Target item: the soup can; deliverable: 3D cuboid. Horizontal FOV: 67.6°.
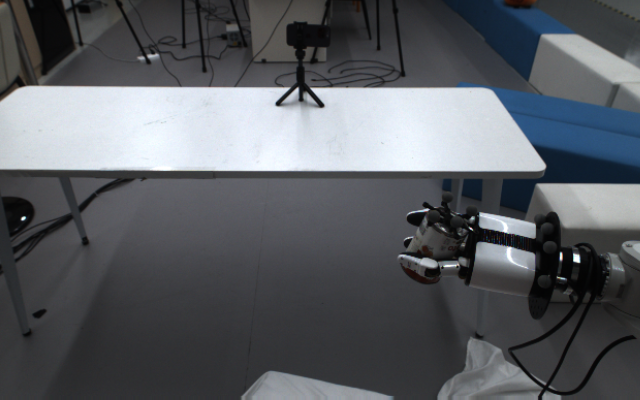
[{"bbox_3d":[0.174,0.069,0.735,0.067,0.101,0.067,14,35,-10],"label":"soup can"}]
